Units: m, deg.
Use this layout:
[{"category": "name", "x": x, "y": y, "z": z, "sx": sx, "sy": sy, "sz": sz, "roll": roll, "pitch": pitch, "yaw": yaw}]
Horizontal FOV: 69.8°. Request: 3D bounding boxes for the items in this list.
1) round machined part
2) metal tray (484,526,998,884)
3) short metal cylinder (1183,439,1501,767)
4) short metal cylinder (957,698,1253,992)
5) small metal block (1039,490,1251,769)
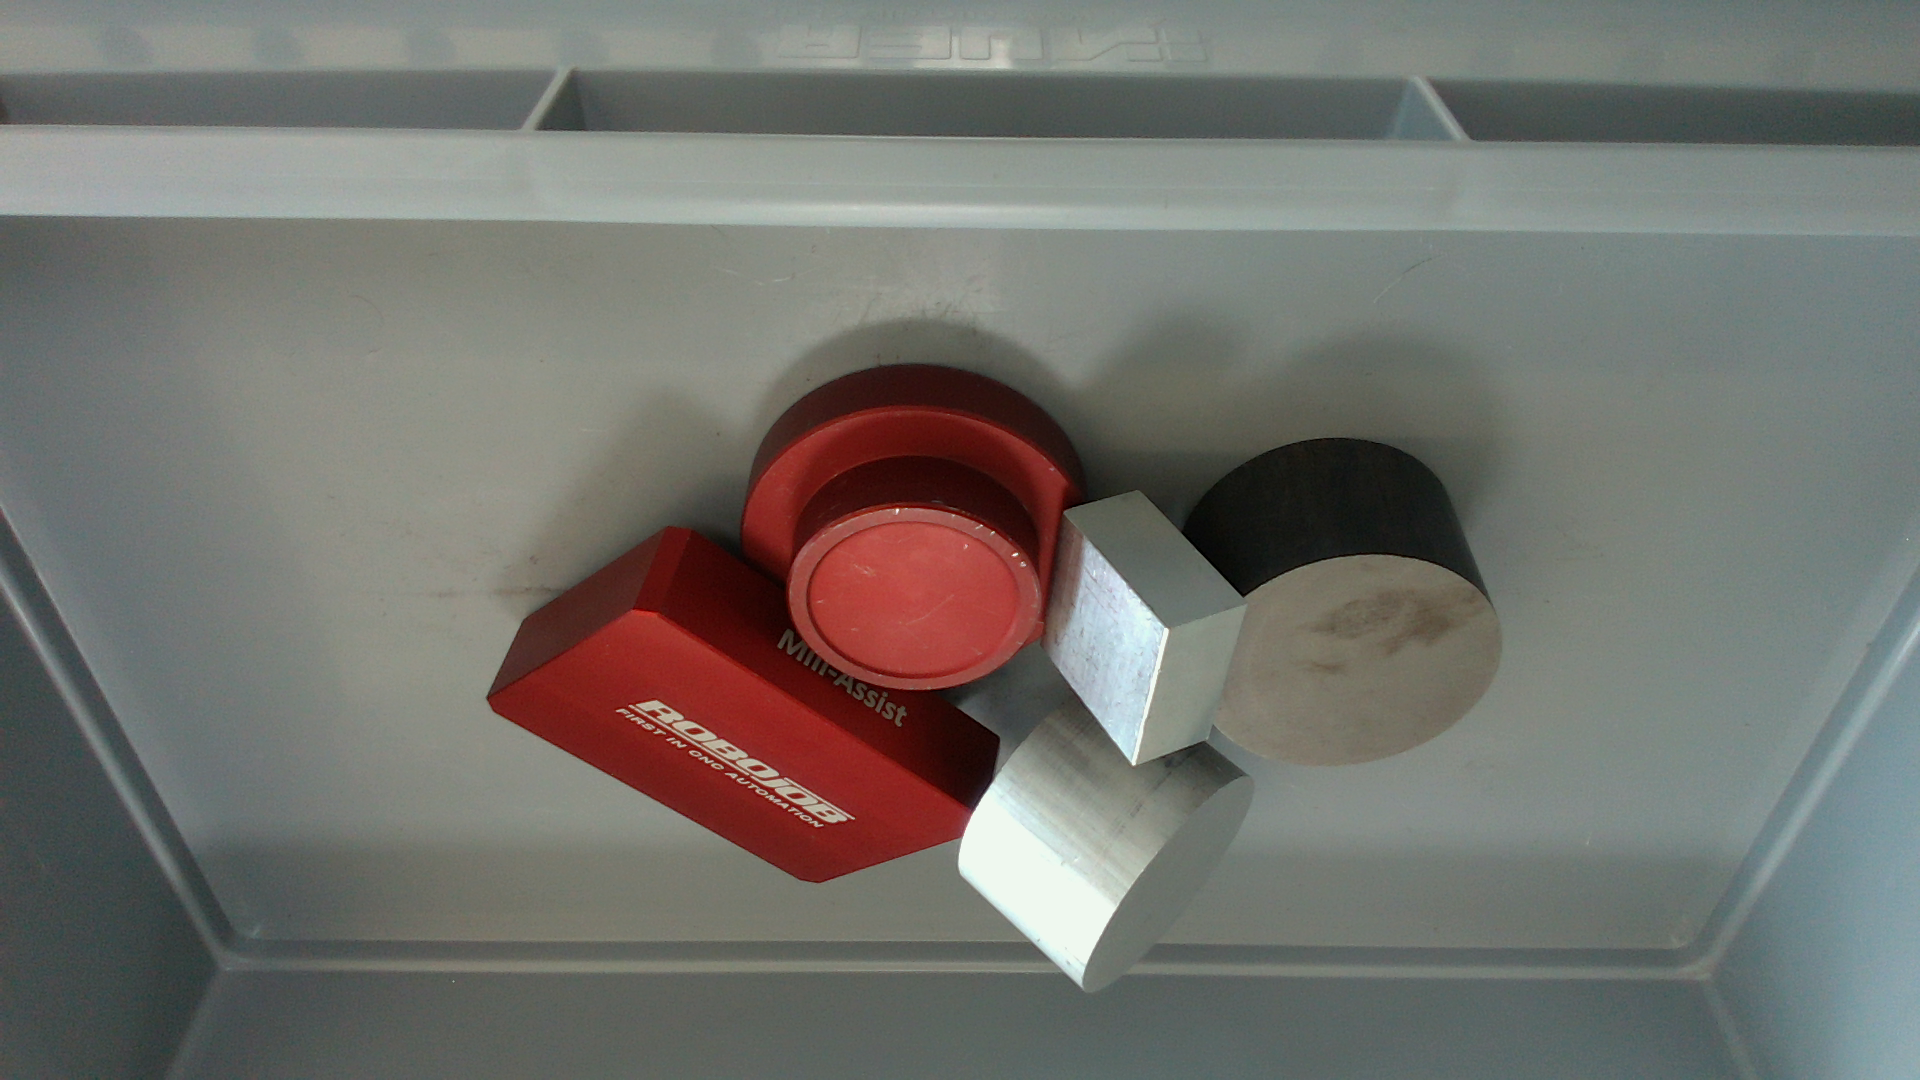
[{"category": "round machined part", "x": -0.012, "y": 0.003, "z": 0.380, "sx": 0.098, "sy": 0.042, "sz": 0.098, "roll": 0, "pitch": 130, "yaw": 0}, {"category": "metal tray", "x": -0.064, "y": 0.056, "z": 0.418, "sx": 0.130, "sy": 0.030, "sz": 0.090, "roll": 37, "pitch": 136, "yaw": -28}, {"category": "short metal cylinder", "x": 0.104, "y": 0.019, "z": 0.389, "sx": 0.080, "sy": 0.050, "sz": 0.080, "roll": 0, "pitch": 130, "yaw": 0}, {"category": "short metal cylinder", "x": 0.045, "y": 0.089, "z": 0.420, "sx": 0.050, "sy": 0.080, "sz": 0.080, "roll": 37, "pitch": 135, "yaw": 27}, {"category": "small metal block", "x": 0.047, "y": 0.023, "z": 0.368, "sx": 0.025, "sy": 0.050, "sz": 0.050, "roll": -15, "pitch": 134, "yaw": -24}]
